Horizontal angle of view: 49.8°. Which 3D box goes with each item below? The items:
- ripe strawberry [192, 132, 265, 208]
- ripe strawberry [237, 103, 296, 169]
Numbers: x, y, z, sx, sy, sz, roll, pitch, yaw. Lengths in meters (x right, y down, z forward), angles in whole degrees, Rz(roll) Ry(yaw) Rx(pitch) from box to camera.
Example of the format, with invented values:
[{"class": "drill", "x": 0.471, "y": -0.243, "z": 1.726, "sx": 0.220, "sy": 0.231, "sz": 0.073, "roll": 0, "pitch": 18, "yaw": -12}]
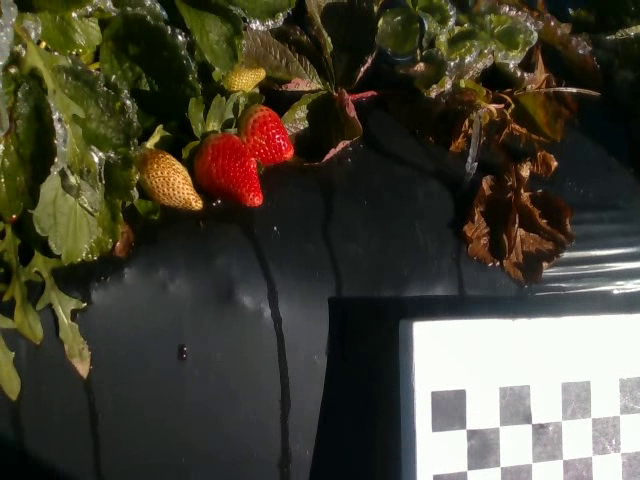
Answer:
[{"class": "ripe strawberry", "x": -0.046, "y": -0.033, "z": 0.372, "sx": 0.051, "sy": 0.036, "sz": 0.040, "roll": 41, "pitch": -20, "yaw": 24}, {"class": "ripe strawberry", "x": -0.031, "y": -0.060, "z": 0.397, "sx": 0.041, "sy": 0.036, "sz": 0.030, "roll": 27, "pitch": -11, "yaw": -13}]
